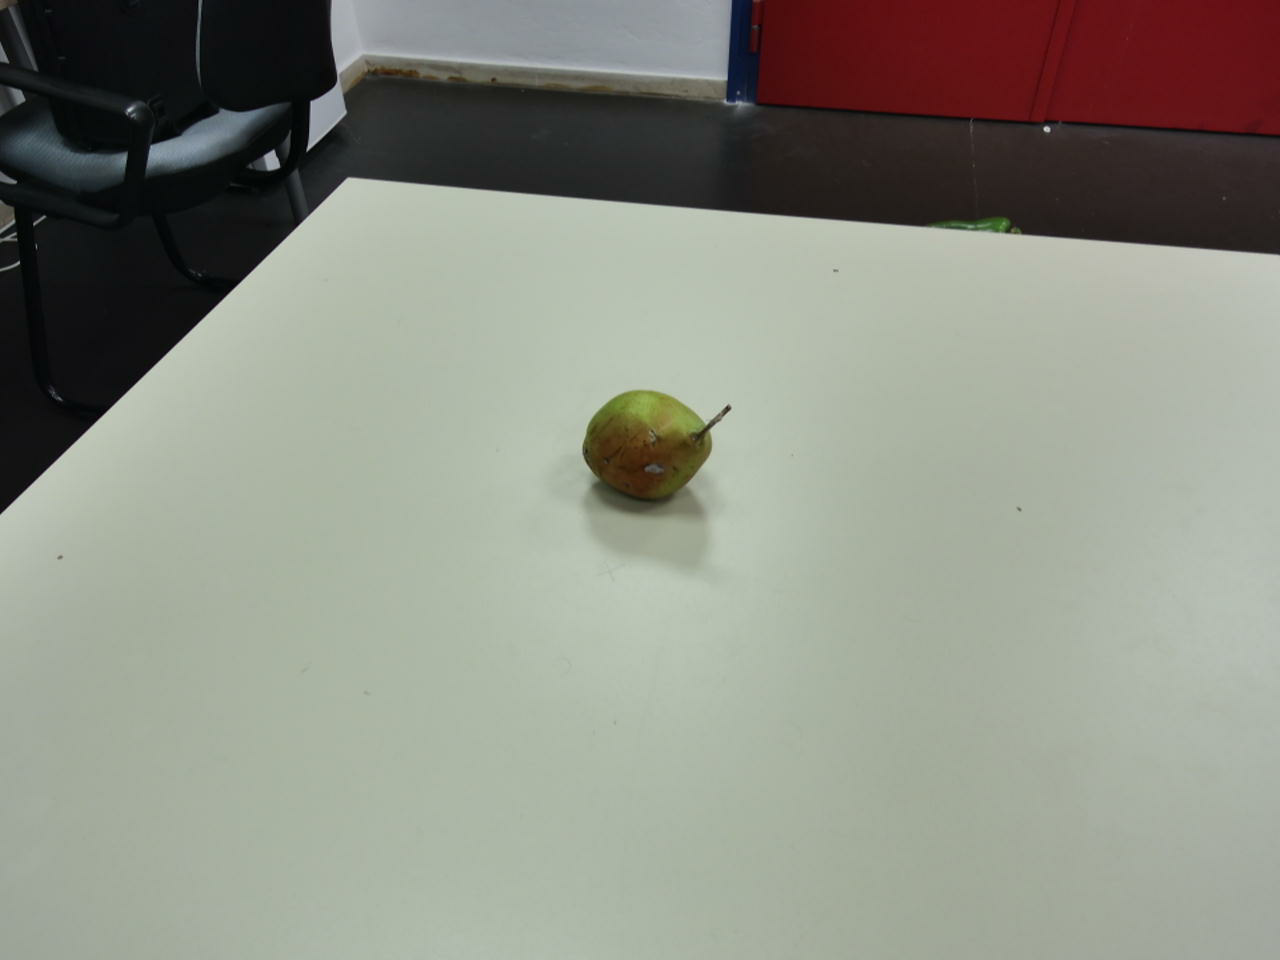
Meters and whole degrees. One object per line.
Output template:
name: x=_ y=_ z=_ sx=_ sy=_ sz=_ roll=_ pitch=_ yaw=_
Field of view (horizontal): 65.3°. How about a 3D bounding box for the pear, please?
pear: x=0.005 y=-0.022 z=0.574 sx=0.068 sy=0.069 sz=0.070 roll=-18 pitch=42 yaw=-20
